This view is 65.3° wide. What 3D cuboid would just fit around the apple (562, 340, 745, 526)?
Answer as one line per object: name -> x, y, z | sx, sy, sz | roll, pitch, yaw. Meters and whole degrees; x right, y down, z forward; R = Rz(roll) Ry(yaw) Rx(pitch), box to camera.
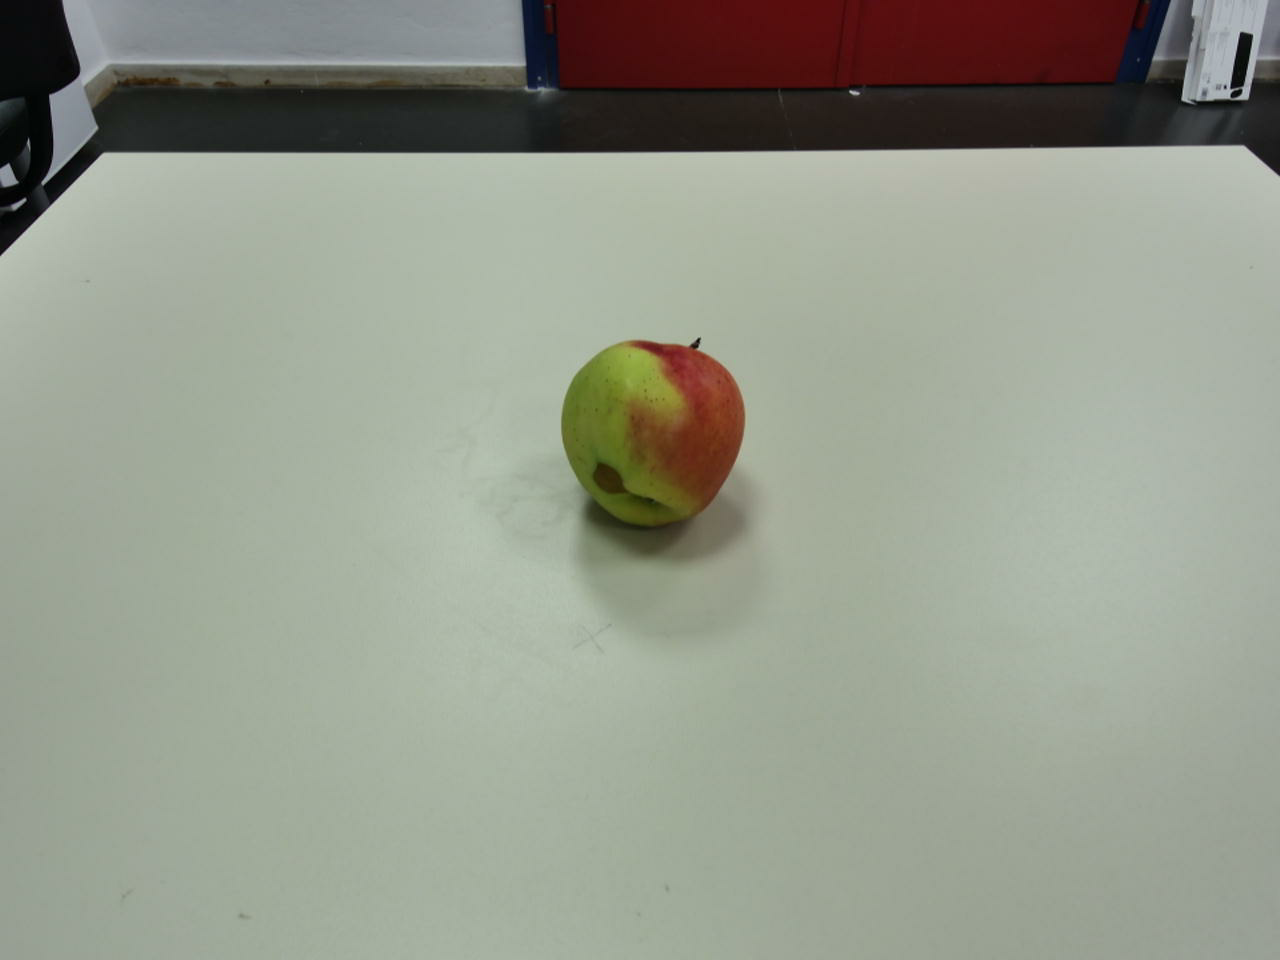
apple -> 0.006, -0.020, 0.405 | 0.075, 0.074, 0.075 | -11, 40, -15
